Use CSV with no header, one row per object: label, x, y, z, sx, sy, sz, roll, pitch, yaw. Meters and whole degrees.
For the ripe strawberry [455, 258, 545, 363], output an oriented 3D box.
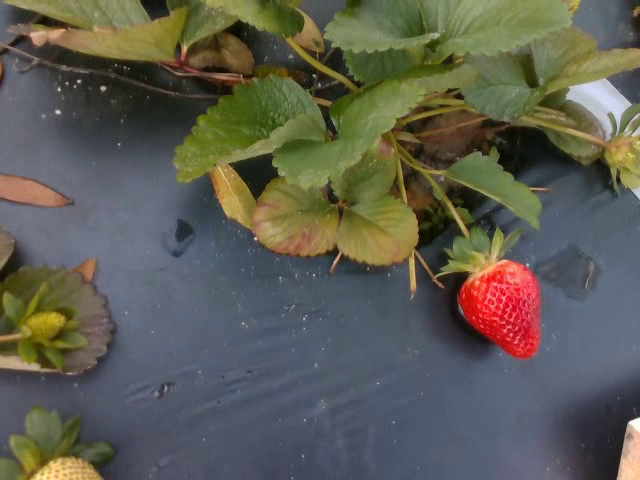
ripe strawberry,0.078,0.027,0.252,0.036,0.046,0.040,-19,-22,-1
